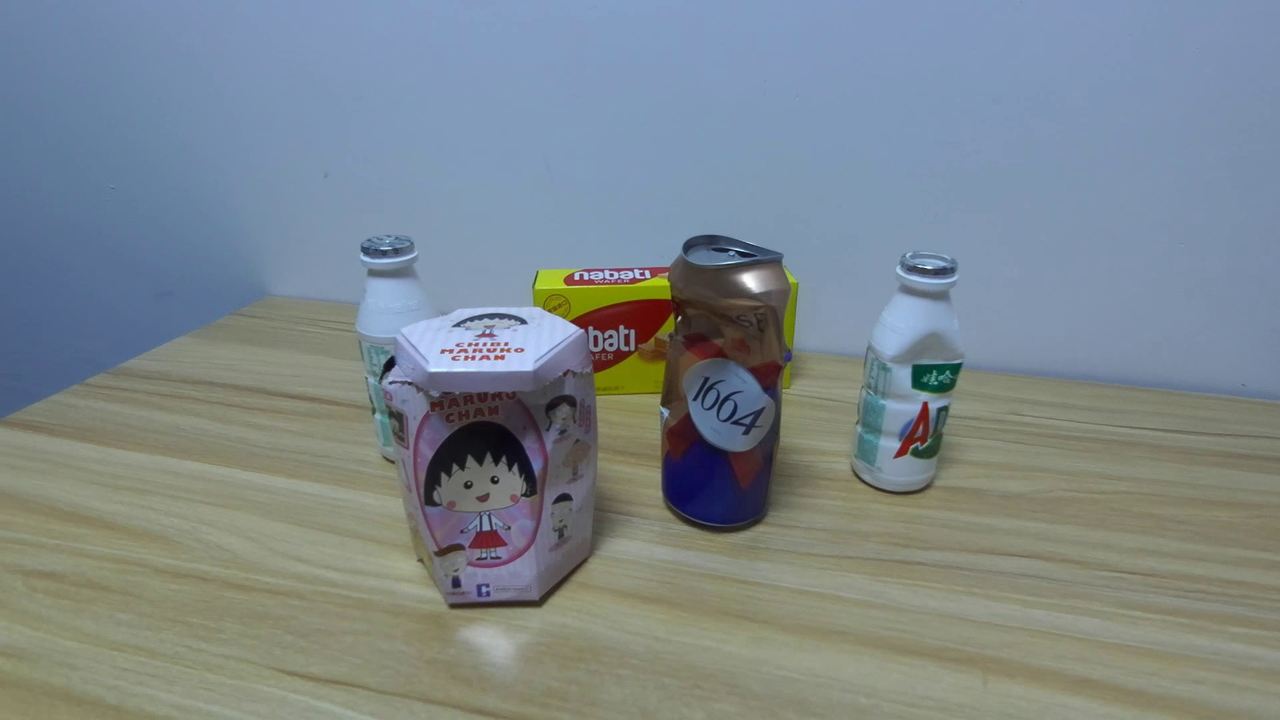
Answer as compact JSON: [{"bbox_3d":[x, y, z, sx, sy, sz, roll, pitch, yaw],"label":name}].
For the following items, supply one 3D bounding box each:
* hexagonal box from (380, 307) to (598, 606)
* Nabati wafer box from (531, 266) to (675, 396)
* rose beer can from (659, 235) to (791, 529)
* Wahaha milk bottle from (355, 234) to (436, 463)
[{"bbox_3d":[-0.075,0.047,0.367,0.091,0.134,0.090,17,27,33],"label":"hexagonal box"},{"bbox_3d":[0.020,-0.024,0.563,0.203,0.093,0.042,-2,24,-4],"label":"Nabati wafer box"},{"bbox_3d":[0.047,0.015,0.400,0.073,0.162,0.068,8,24,12],"label":"rose beer can"},{"bbox_3d":[-0.154,-0.005,0.459,0.053,0.147,0.053,-1,22,1],"label":"Wahaha milk bottle"}]
